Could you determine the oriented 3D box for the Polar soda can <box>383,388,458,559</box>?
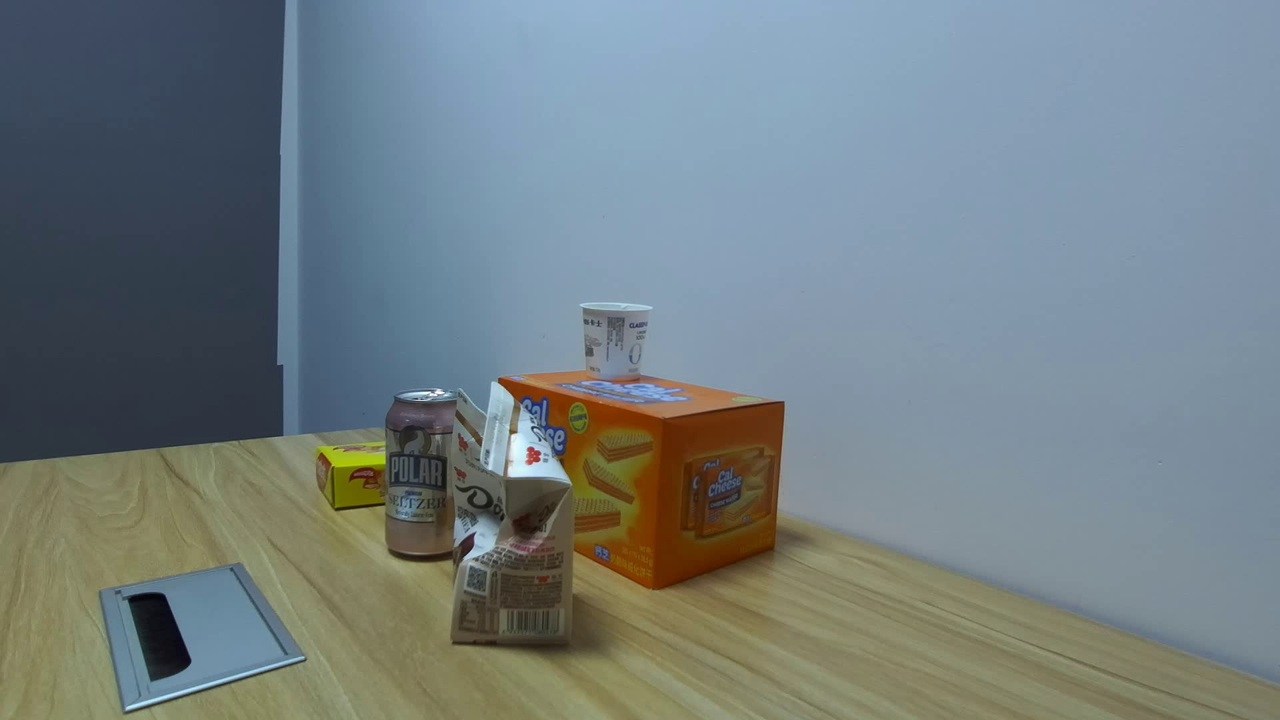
[{"bbox_3d":[-0.166,0.088,0.559,0.067,0.125,0.067,3,6,0],"label":"Polar soda can"}]

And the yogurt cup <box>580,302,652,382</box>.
[{"bbox_3d":[-0.024,-0.018,0.680,0.072,0.068,0.072,3,9,0],"label":"yogurt cup"}]

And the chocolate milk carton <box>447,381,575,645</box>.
[{"bbox_3d":[-0.082,0.098,0.438,0.077,0.155,0.089,-2,19,-9],"label":"chocolate milk carton"}]

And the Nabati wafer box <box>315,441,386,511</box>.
[{"bbox_3d":[-0.213,0.108,0.722,0.204,0.042,0.096,-3,4,-29],"label":"Nabati wafer box"}]

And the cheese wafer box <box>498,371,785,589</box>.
[{"bbox_3d":[-0.007,0.088,0.620,0.149,0.129,0.220,-4,10,-43],"label":"cheese wafer box"}]
